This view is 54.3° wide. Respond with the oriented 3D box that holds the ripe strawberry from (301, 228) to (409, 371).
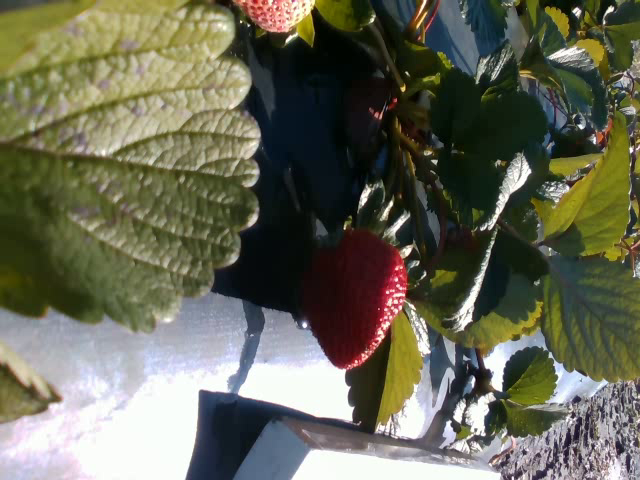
[{"bbox_3d":[0.009,0.022,0.217,0.058,0.065,0.061,-7,38,-14],"label":"ripe strawberry"}]
